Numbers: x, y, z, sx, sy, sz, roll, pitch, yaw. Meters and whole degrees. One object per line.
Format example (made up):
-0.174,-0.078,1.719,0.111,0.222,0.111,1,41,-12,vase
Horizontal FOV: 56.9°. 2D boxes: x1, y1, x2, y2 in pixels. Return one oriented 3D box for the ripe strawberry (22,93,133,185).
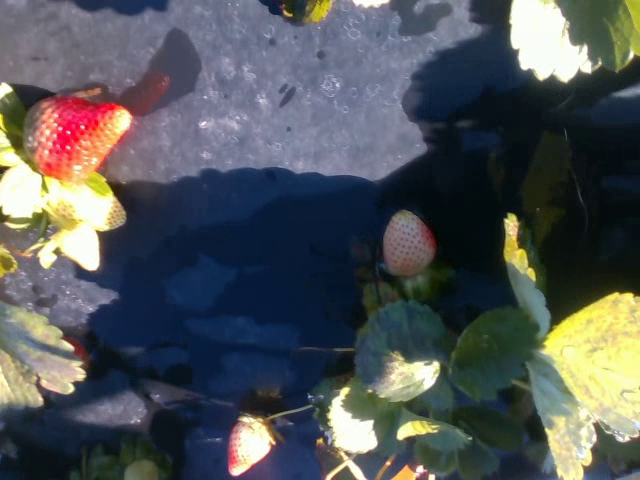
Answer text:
-0.113,-0.054,0.283,0.064,0.052,0.049,-18,-25,23,ripe strawberry
